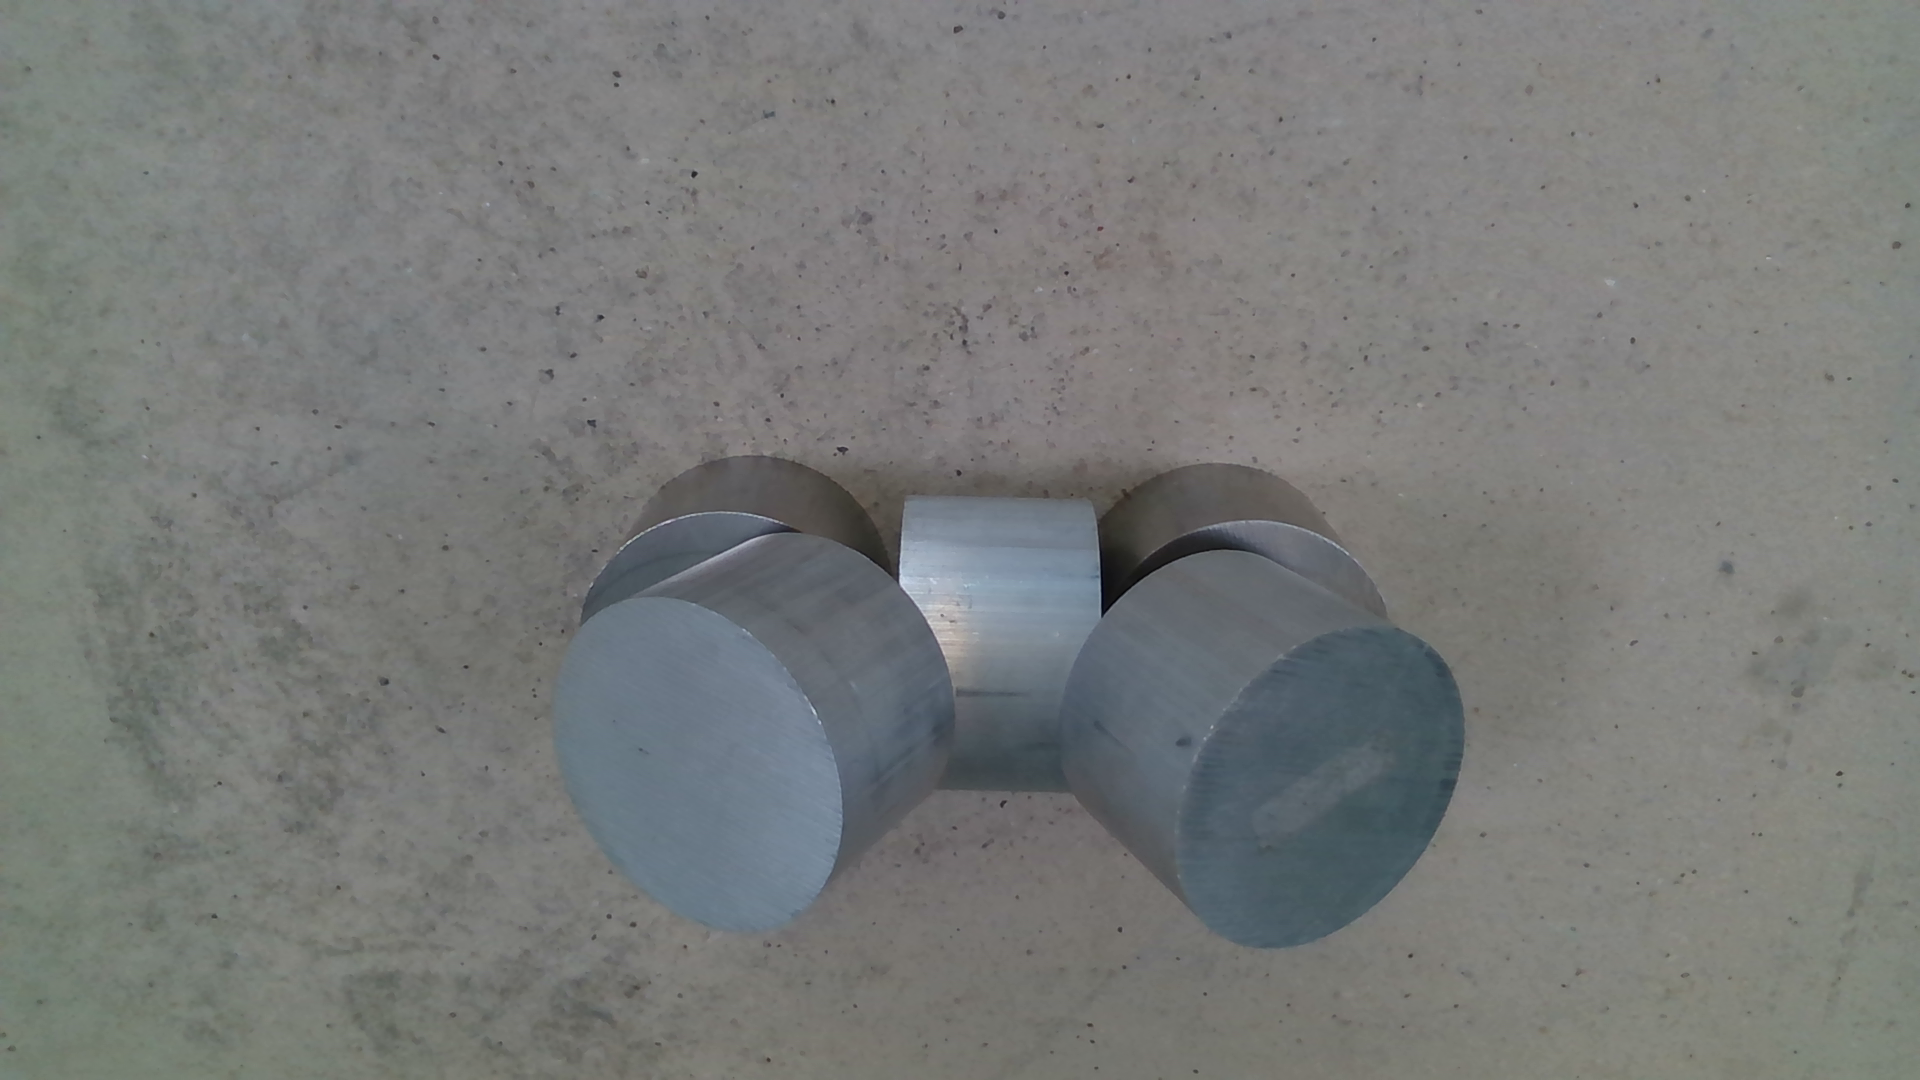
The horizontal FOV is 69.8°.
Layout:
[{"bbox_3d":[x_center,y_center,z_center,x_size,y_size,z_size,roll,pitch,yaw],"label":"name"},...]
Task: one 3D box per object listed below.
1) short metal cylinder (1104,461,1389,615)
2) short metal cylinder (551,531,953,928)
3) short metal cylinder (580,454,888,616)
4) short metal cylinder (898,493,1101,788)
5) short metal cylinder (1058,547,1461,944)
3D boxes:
[{"bbox_3d":[0.075,0.023,0.389,0.080,0.050,0.080,0,110,0],"label":"short metal cylinder"},{"bbox_3d":[-0.049,0.043,0.326,0.080,0.050,0.080,10,111,26],"label":"short metal cylinder"},{"bbox_3d":[-0.061,0.021,0.388,0.080,0.050,0.080,0,110,0],"label":"short metal cylinder"},{"bbox_3d":[0.009,0.028,0.375,0.050,0.080,0.080,1,110,0],"label":"short metal cylinder"},{"bbox_3d":[0.071,0.048,0.329,0.080,0.050,0.080,-10,113,-24],"label":"short metal cylinder"}]
